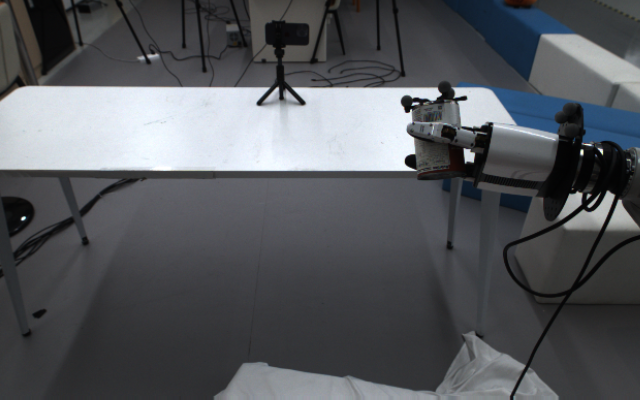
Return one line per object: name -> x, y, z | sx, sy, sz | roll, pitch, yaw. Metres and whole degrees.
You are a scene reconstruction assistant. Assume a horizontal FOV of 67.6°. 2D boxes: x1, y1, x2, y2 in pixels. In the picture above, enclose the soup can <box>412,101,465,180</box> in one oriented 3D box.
soup can -> 0.168, -0.083, 0.685 | 0.067, 0.101, 0.067 | -5, -5, 0
